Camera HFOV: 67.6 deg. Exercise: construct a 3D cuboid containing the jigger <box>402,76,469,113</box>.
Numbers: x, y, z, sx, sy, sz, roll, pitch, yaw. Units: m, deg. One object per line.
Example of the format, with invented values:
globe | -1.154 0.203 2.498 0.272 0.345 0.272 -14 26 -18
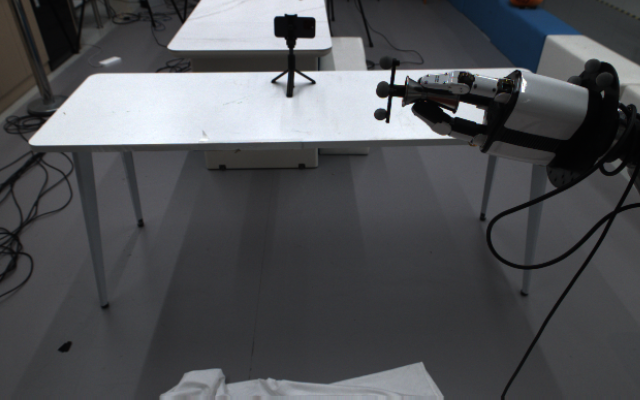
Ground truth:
jigger | 0.149 -0.141 0.628 0.071 0.043 0.043 5 35 4
